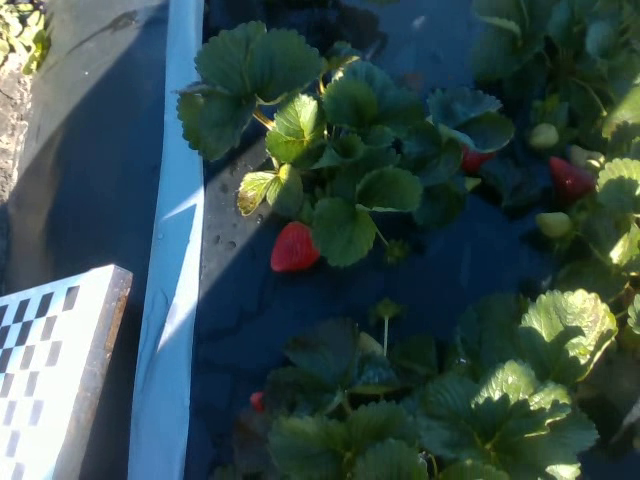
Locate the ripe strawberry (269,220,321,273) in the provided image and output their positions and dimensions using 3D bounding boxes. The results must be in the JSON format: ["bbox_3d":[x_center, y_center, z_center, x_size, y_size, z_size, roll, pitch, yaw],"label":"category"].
[{"bbox_3d":[-0.023,0.009,0.546,0.046,0.058,0.042,21,-27,49],"label":"ripe strawberry"}]
